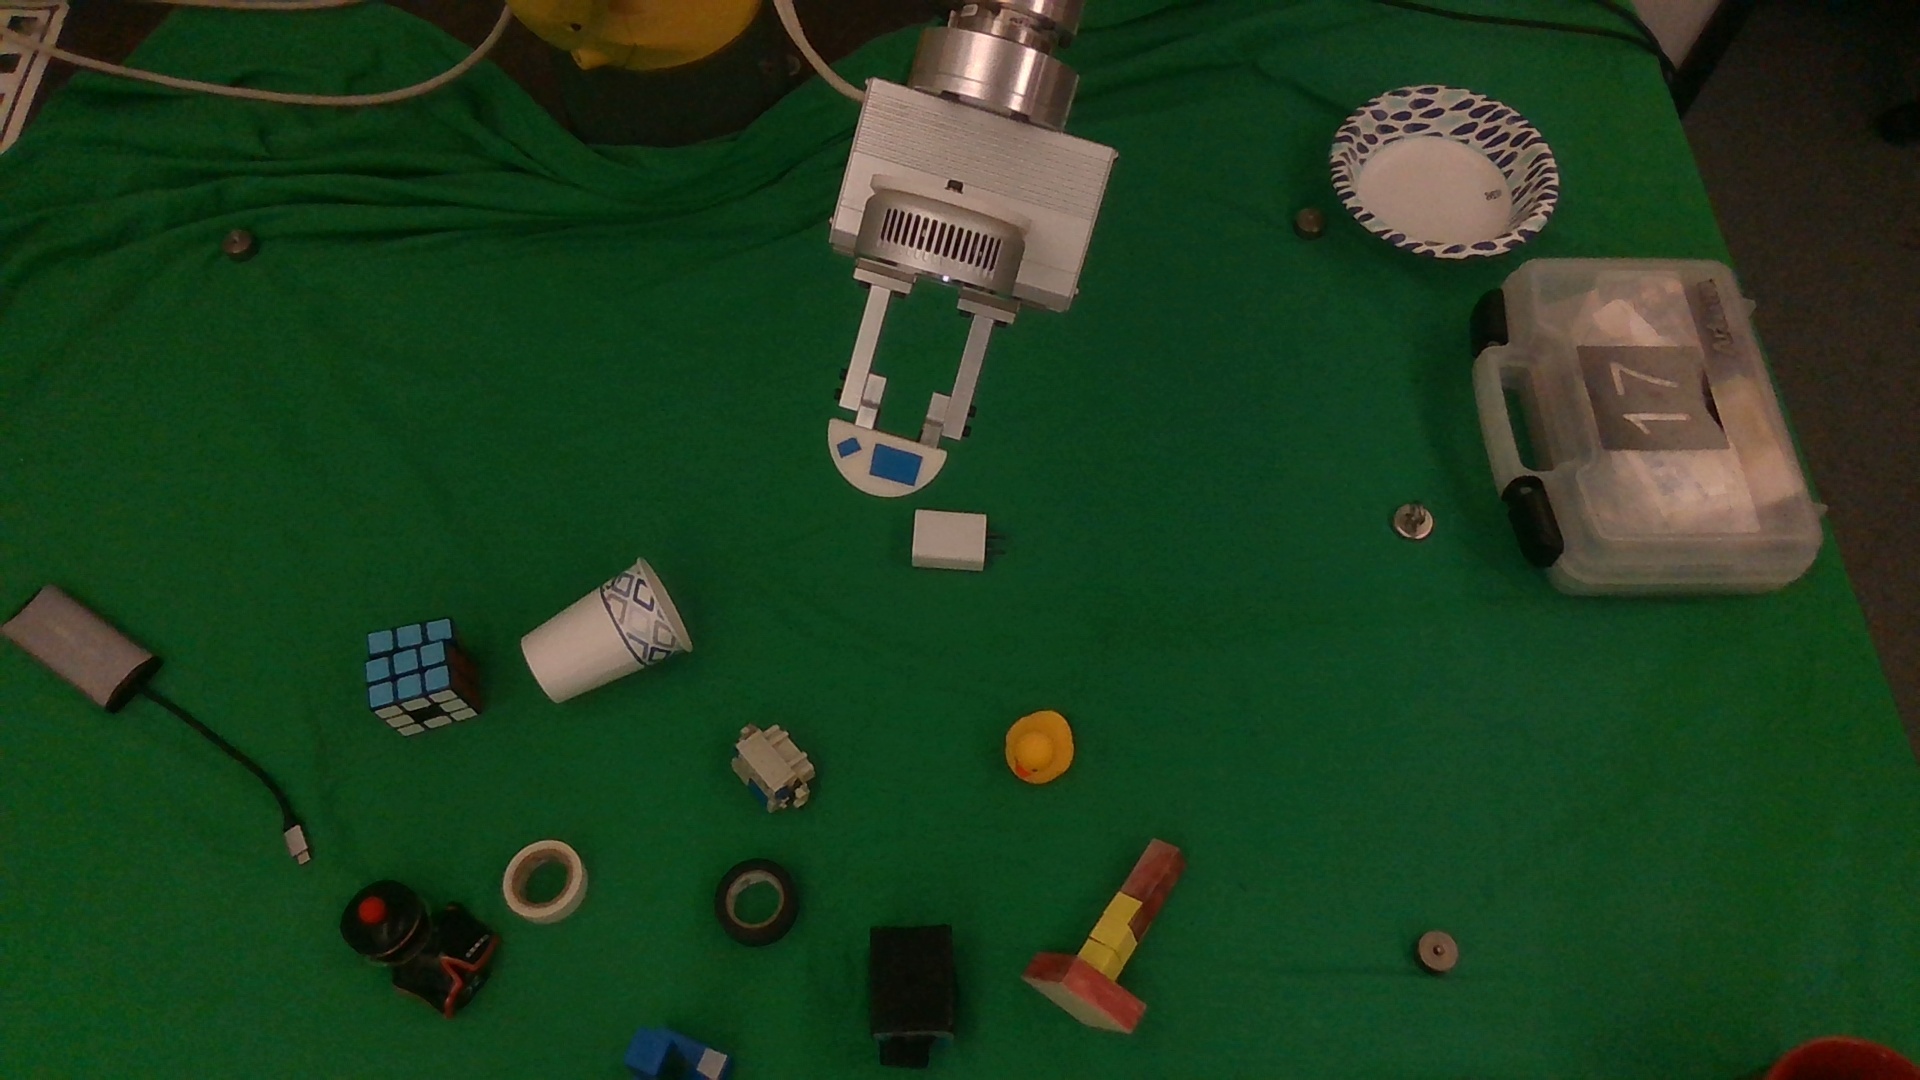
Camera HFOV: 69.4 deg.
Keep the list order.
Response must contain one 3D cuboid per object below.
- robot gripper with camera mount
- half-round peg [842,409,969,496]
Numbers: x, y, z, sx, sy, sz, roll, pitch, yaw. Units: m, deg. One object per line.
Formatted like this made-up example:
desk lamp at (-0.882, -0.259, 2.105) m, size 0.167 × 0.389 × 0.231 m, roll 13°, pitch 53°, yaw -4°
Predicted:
robot gripper with camera mount at (-0.003, -0.095, 0.594) m, size 0.119 × 0.193 × 0.158 m, roll 16°, pitch 101°, yaw -4°
half-round peg at (-0.025, -0.042, 0.633) m, size 0.054 × 0.122 × 0.031 m, roll 16°, pitch 97°, yaw -2°
